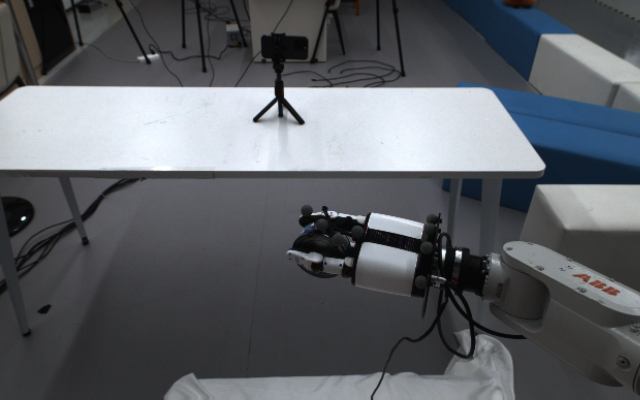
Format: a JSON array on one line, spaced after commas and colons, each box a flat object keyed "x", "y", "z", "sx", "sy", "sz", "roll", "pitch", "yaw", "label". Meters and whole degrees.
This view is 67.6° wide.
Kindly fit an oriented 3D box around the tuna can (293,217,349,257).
[{"x": 0.005, "y": 0.075, "z": 0.738, "sx": 0.085, "sy": 0.085, "sz": 0.034, "roll": 12, "pitch": 33, "yaw": 14, "label": "tuna can"}]
